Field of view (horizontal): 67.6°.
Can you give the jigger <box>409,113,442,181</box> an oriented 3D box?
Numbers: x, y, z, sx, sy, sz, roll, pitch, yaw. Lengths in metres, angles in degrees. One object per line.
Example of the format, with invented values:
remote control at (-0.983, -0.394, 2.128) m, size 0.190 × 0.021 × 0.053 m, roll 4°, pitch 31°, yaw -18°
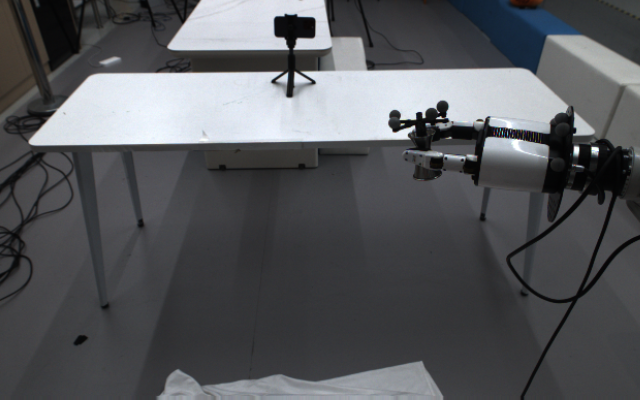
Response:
jigger at (0.155, -0.069, 0.723) m, size 0.043 × 0.071 × 0.043 m, roll -11°, pitch 24°, yaw 5°
